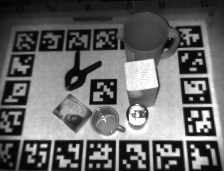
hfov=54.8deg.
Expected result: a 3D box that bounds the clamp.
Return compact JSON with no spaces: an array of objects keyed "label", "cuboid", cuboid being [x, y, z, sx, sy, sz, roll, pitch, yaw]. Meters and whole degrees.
[{"label":"clamp","cuboid":[-0.131,-0.072,0.835,0.121,0.036,0.165,29,76,7]}]

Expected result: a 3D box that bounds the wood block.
[{"label":"wood block","cuboid":[0.085,-0.017,0.695,0.090,0.207,0.090,-3,69,2]}]

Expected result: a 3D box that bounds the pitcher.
[{"label":"pitcher","cuboid":[0.110,-0.137,0.720,0.188,0.244,0.133,-3,67,8]}]

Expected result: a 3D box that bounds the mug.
[{"label":"mug","cuboid":[-0.019,0.110,0.727,0.116,0.082,0.093,34,74,17]}]

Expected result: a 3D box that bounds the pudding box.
[{"label":"pudding box","cuboid":[-0.156,0.077,0.778,0.113,0.039,0.090,35,80,17]}]

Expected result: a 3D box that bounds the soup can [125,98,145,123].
[{"label":"soup can","cuboid":[0.073,0.086,0.715,0.068,0.102,0.068,-2,72,6]}]
